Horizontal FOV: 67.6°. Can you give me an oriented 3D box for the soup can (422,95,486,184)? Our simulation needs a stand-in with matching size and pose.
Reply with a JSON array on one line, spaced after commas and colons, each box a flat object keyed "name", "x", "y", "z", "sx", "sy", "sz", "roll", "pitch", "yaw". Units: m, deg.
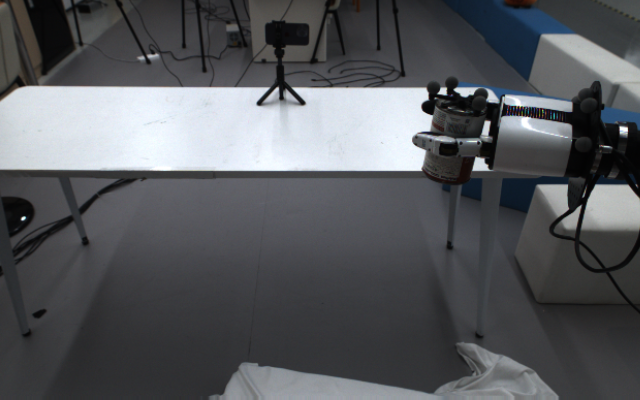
[{"name": "soup can", "x": 0.181, "y": -0.081, "z": 0.652, "sx": 0.067, "sy": 0.101, "sz": 0.067, "roll": 3, "pitch": 30, "yaw": -2}]
